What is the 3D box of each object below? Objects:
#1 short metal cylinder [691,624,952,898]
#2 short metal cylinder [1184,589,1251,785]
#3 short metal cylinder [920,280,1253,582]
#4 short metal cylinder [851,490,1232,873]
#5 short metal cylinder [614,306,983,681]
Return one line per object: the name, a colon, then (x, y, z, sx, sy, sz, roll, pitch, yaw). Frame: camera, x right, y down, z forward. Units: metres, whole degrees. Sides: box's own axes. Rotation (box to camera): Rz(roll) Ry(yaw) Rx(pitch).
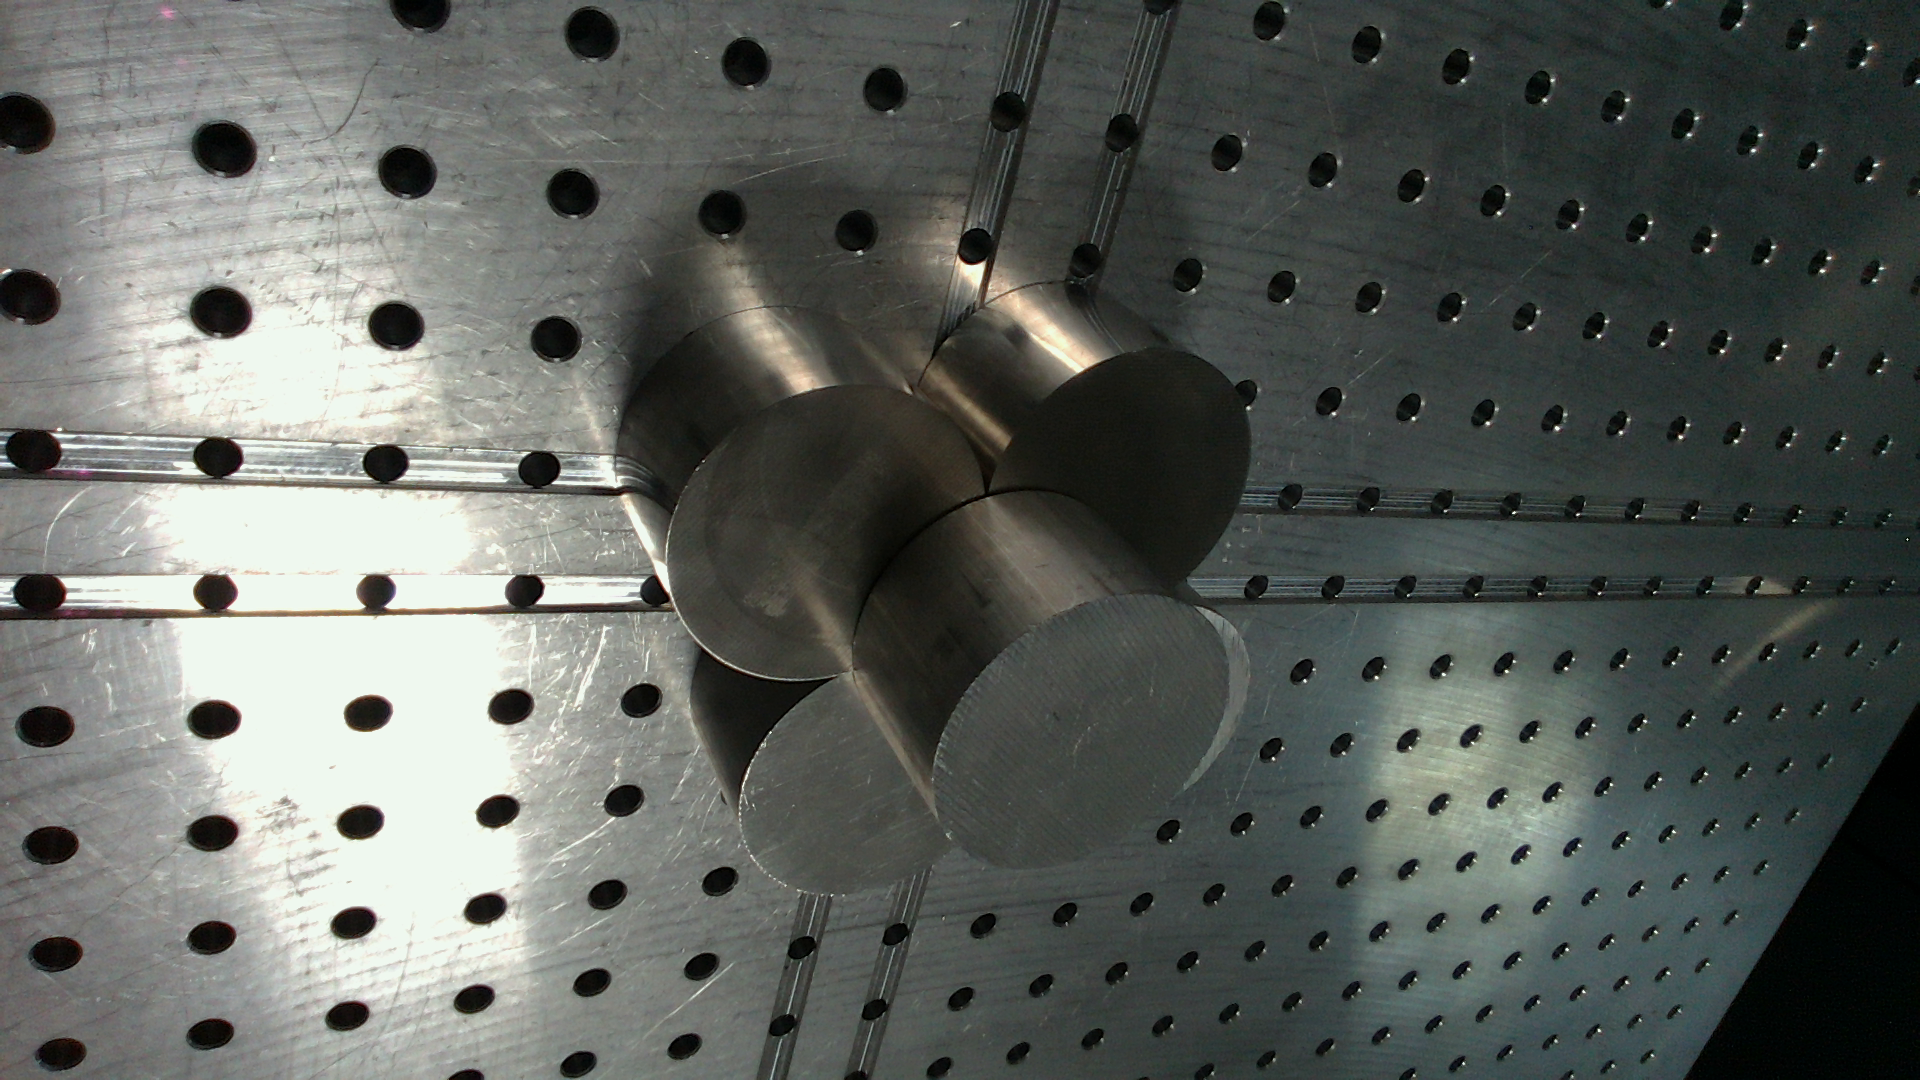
short metal cylinder: (-0.031, 0.054, 0.391, 0.080, 0.050, 0.080, -14, 124, -21)
short metal cylinder: (0.041, 0.041, 0.423, 0.080, 0.050, 0.080, -14, 124, -21)
short metal cylinder: (0.032, -0.025, 0.378, 0.080, 0.050, 0.080, -14, 124, -21)
short metal cylinder: (0.020, 0.035, 0.341, 0.080, 0.050, 0.080, -15, 126, -21)
short metal cylinder: (-0.041, -0.012, 0.346, 0.080, 0.050, 0.080, -14, 124, -21)
